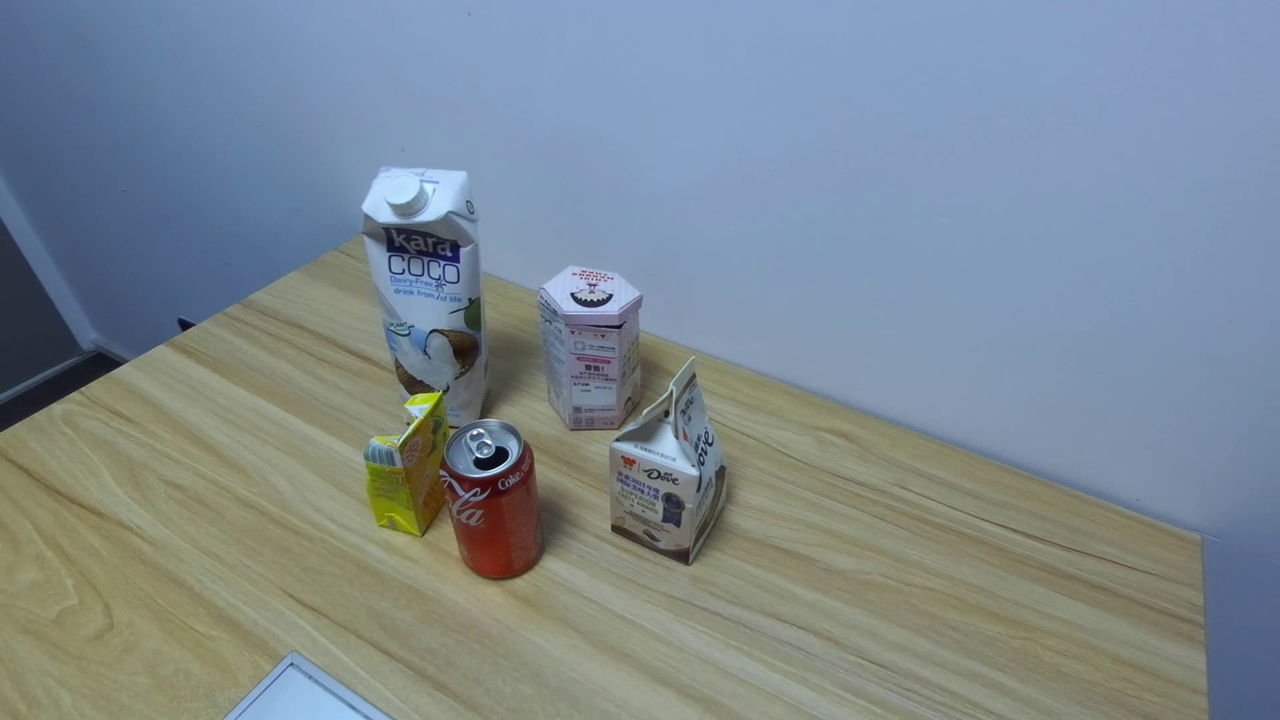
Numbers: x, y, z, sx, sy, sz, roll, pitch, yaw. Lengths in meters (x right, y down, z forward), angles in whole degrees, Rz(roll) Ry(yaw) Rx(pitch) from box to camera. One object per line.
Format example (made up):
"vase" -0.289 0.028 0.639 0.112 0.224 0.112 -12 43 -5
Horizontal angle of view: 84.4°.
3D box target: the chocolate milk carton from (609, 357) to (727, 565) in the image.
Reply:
"chocolate milk carton" 0.026 0.071 0.537 0.073 0.155 0.084 19 43 21

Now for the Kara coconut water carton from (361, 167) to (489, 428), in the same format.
"Kara coconut water carton" -0.177 -0.050 0.609 0.099 0.244 0.071 2 39 1

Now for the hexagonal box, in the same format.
"hexagonal box" -0.043 -0.009 0.644 0.092 0.135 0.085 1 39 1

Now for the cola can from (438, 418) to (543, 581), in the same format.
"cola can" -0.109 0.104 0.527 0.068 0.120 0.067 0 41 1

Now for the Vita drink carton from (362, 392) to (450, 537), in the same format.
"Vita drink carton" -0.184 0.079 0.561 0.046 0.110 0.071 13 40 12
